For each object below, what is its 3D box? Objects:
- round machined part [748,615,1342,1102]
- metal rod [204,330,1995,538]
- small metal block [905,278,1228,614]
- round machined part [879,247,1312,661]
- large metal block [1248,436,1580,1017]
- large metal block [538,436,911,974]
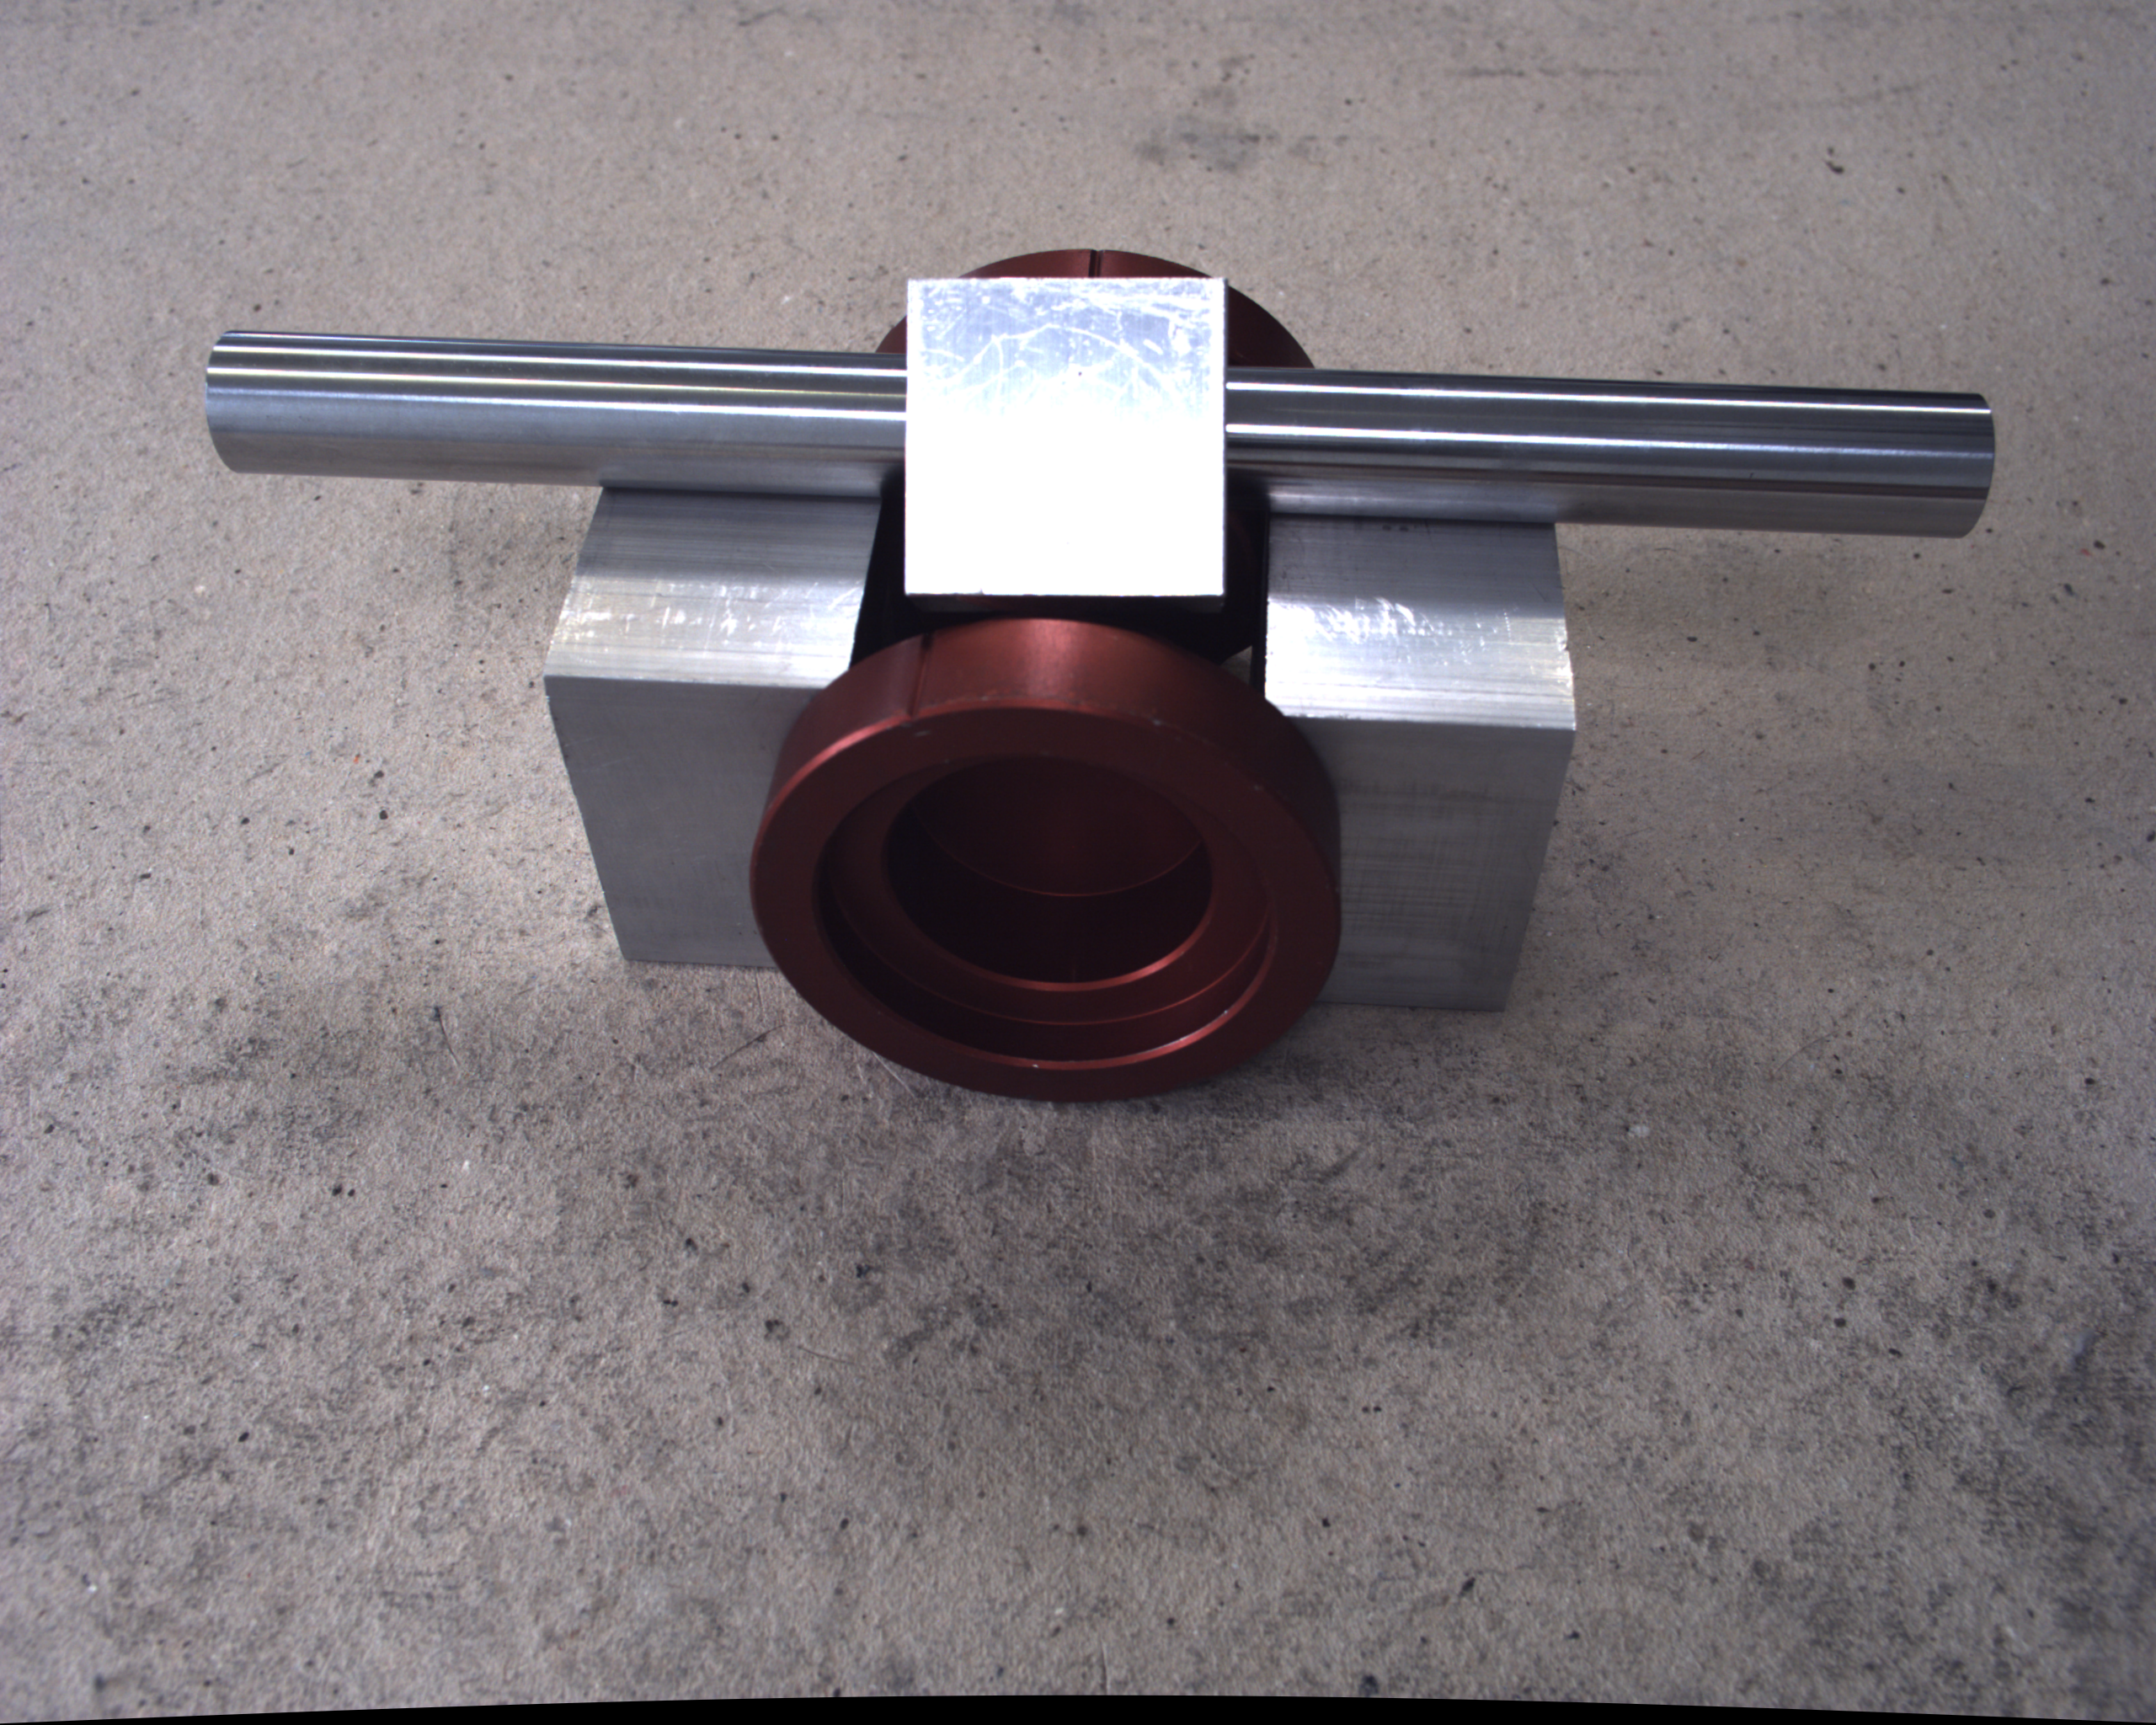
[{"bbox_3d":[-0.004,-0.005,0.361,0.099,0.097,0.042,4,45,3],"label":"round machined part"},{"bbox_3d":[0.002,-0.075,0.364,0.302,0.025,0.025,2,50,2],"label":"metal rod"},{"bbox_3d":[-0.001,-0.067,0.339,0.050,0.025,0.050,0,90,2],"label":"small metal block"},{"bbox_3d":[0.002,-0.069,0.415,0.099,0.097,0.042,3,51,2],"label":"round machined part"},{"bbox_3d":[0.058,-0.028,0.393,0.050,0.080,0.080,3,50,2],"label":"large metal block"},{"bbox_3d":[-0.060,-0.035,0.398,0.050,0.080,0.080,3,50,3],"label":"large metal block"}]
